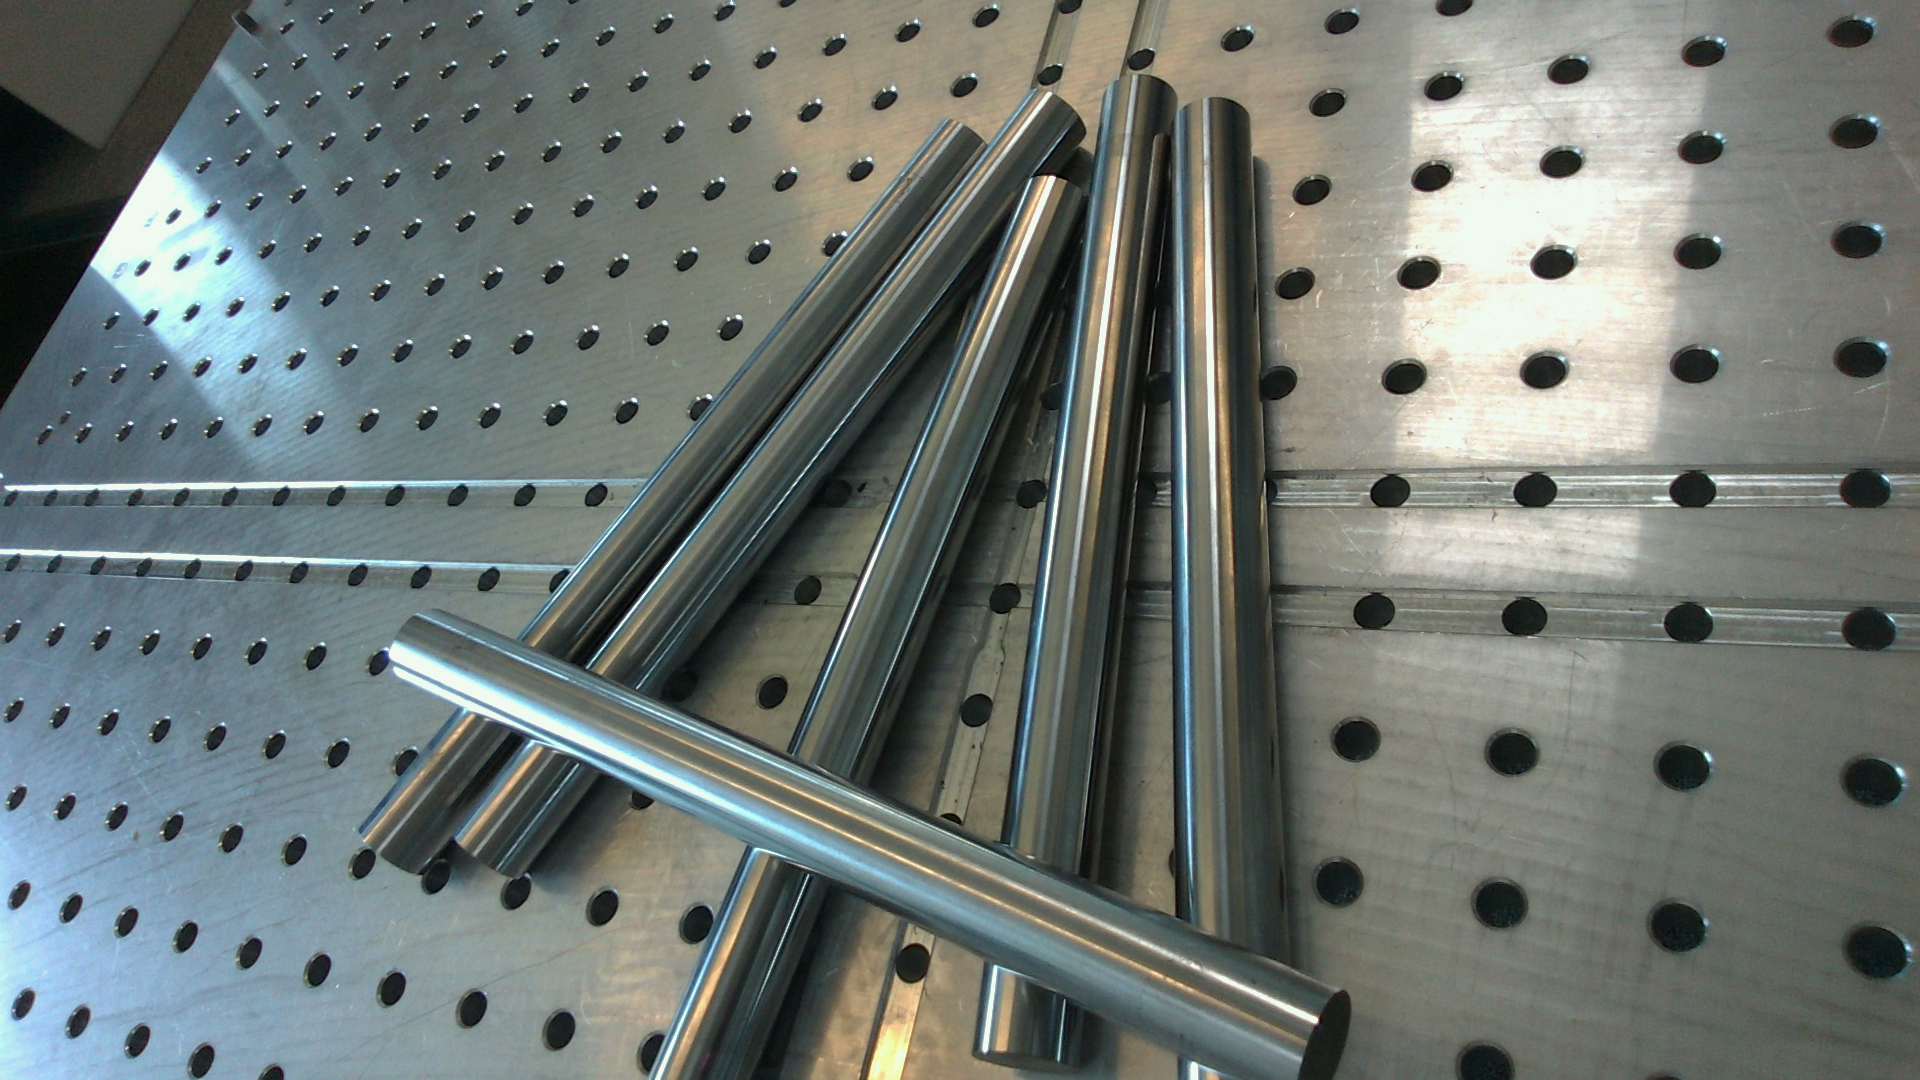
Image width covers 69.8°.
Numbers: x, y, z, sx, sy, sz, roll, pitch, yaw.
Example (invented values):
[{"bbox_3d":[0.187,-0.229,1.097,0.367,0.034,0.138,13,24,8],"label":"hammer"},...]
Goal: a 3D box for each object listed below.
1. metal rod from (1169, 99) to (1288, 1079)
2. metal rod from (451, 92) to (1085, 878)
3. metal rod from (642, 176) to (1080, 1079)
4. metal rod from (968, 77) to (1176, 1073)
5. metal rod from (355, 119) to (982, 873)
[{"bbox_3d":[0.067,0.000,0.360,0.025,0.025,0.300,-9,57,24],"label":"metal rod"},{"bbox_3d":[-0.056,-0.024,0.442,0.025,0.025,0.300,29,77,38],"label":"metal rod"},{"bbox_3d":[-0.021,0.021,0.395,0.025,0.025,0.300,8,66,32],"label":"metal rod"},{"bbox_3d":[0.036,-0.012,0.384,0.025,0.025,0.300,-5,59,26],"label":"metal rod"},{"bbox_3d":[-0.089,-0.020,0.457,0.025,0.025,0.300,31,79,38],"label":"metal rod"}]
